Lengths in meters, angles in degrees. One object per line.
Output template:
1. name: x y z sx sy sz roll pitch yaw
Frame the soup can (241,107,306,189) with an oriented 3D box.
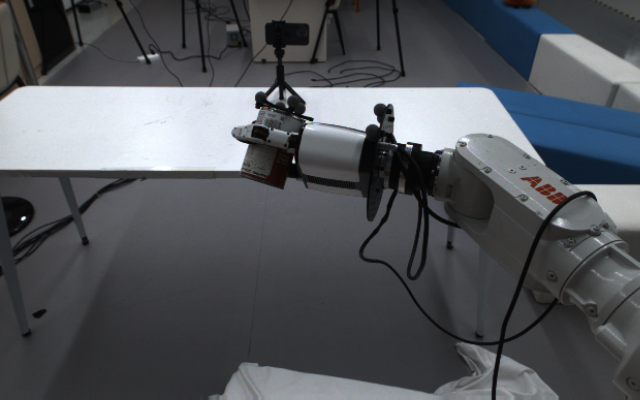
1. soup can: -0.068 -0.072 0.687 0.067 0.101 0.067 17 -1 0
